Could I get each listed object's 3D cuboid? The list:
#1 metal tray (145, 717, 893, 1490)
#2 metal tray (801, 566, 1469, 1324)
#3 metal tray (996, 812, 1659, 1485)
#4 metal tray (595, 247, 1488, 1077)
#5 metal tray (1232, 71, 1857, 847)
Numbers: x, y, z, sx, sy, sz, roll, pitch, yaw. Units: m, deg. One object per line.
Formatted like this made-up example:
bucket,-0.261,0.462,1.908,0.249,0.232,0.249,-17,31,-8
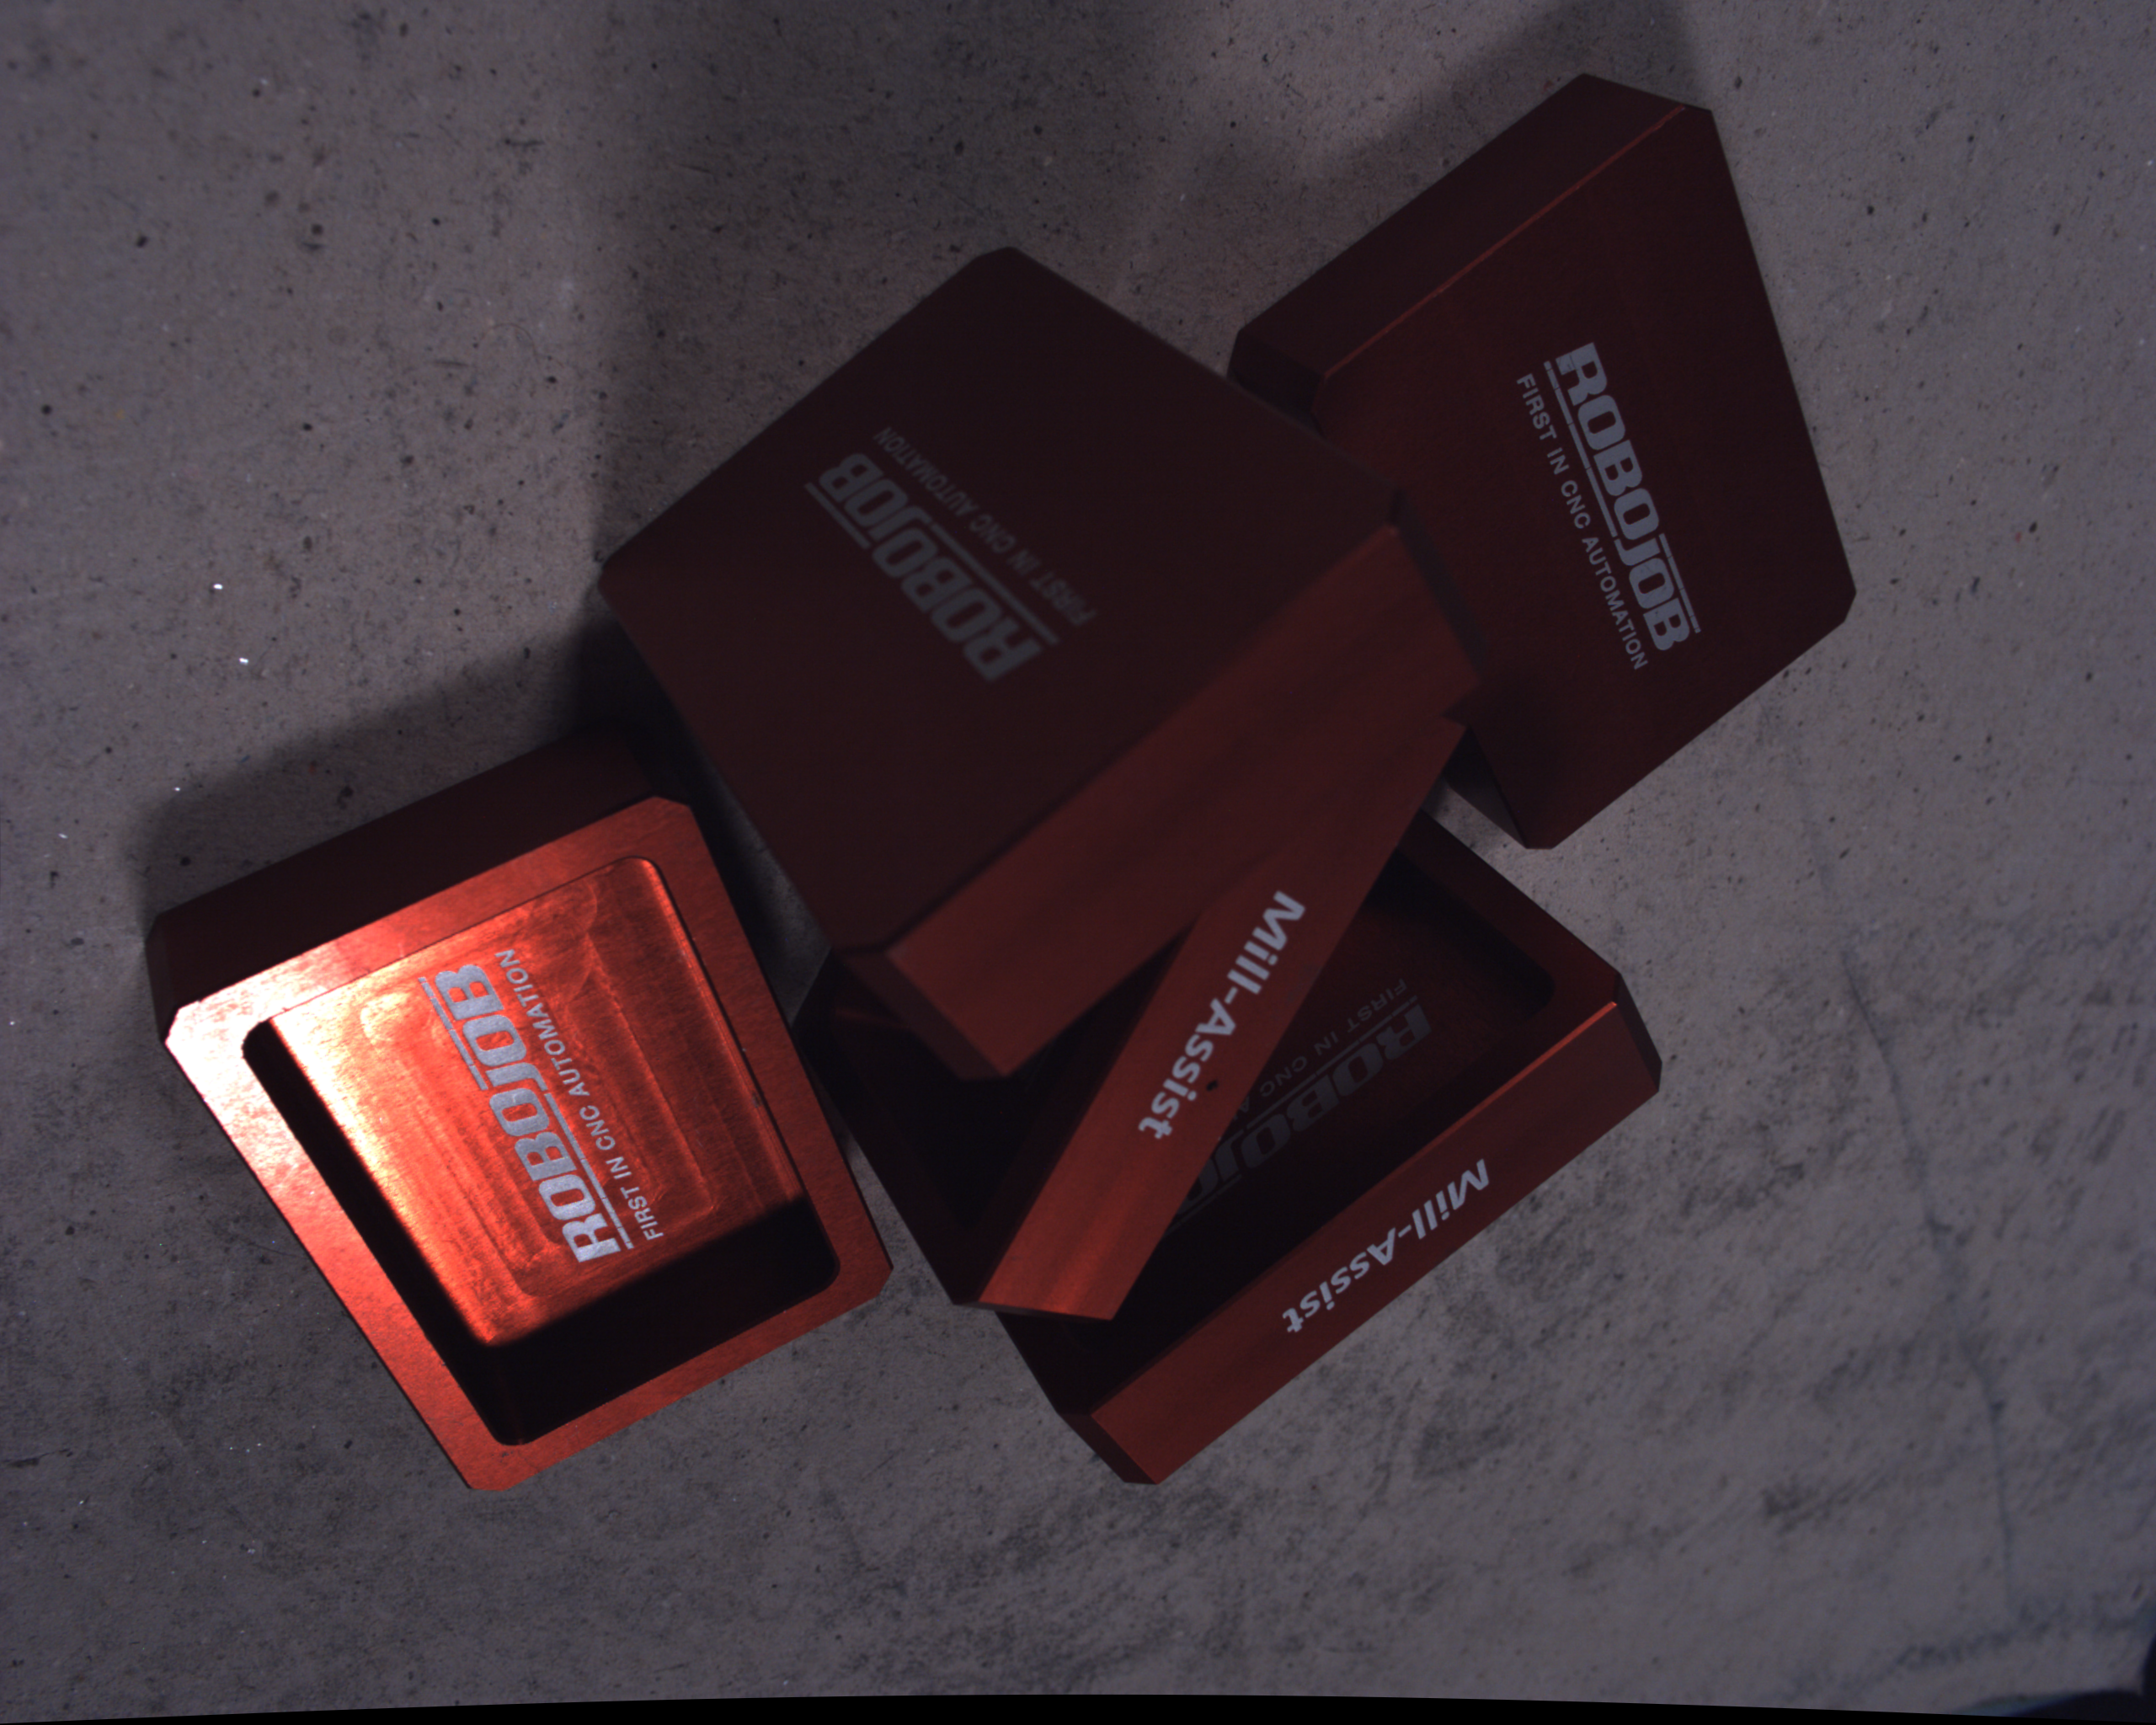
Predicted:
metal tray,-0.096,0.048,0.383,0.091,0.030,0.129,-26,128,-13
metal tray,0.004,0.004,0.372,0.030,0.090,0.129,18,109,-36
metal tray,0.037,0.050,0.419,0.130,0.090,0.030,-37,130,-4
metal tray,-0.013,-0.038,0.311,0.090,0.130,0.030,-40,130,-2
metal tray,0.097,-0.075,0.414,0.090,0.030,0.130,-38,130,-3
